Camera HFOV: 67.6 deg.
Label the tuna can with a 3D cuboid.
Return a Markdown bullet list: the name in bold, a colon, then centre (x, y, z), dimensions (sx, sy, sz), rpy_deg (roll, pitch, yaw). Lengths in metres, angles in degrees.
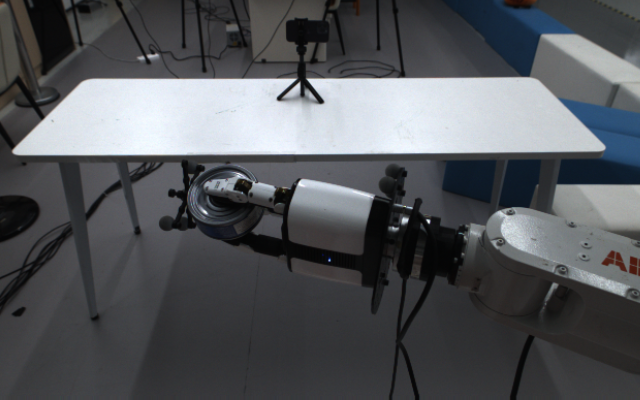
- **tuna can**: centre (-0.106, 0.001, 0.561), dimensions (0.085, 0.034, 0.085), rpy_deg (-2, 57, 3)
